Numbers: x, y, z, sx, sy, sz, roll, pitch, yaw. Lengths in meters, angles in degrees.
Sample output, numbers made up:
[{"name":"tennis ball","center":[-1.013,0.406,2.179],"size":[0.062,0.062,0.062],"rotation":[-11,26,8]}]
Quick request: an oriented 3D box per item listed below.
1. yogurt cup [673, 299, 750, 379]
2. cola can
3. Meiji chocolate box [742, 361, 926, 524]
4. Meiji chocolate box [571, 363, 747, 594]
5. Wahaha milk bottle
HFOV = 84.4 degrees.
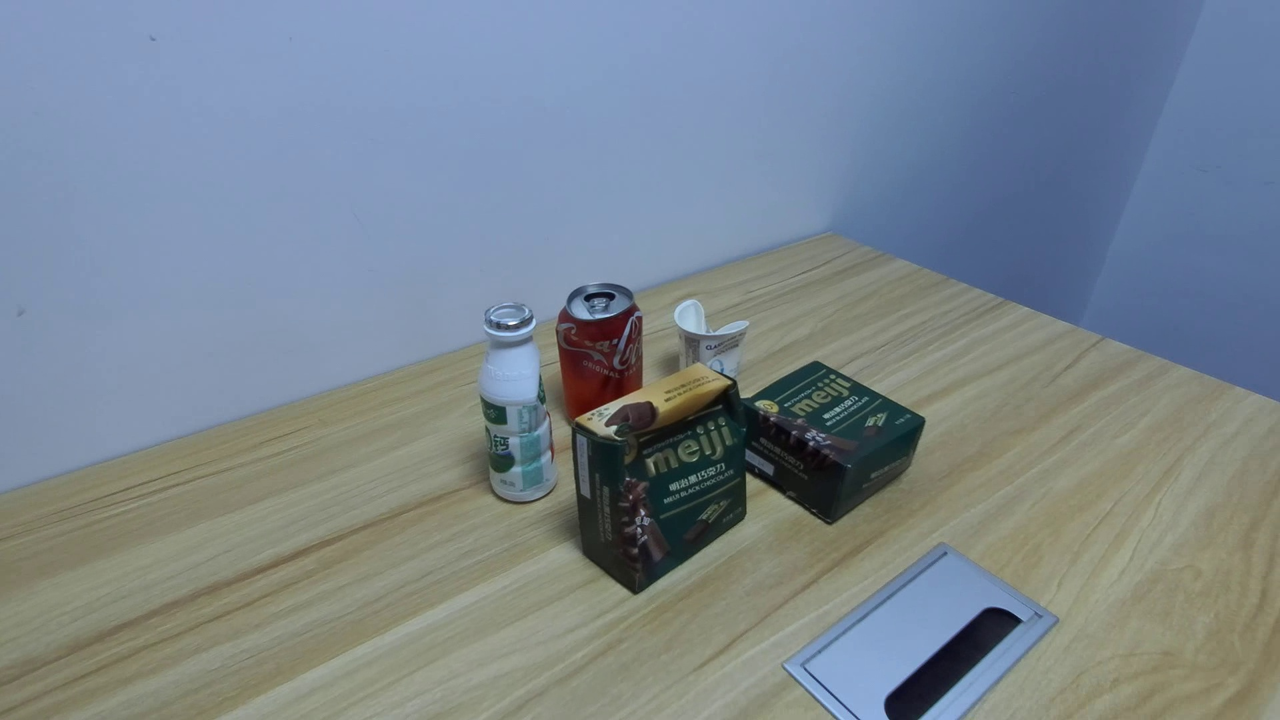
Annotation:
[{"name":"yogurt cup","center":[0.061,-0.010,0.643],"size":[0.067,0.070,0.067],"rotation":[2,34,-1]},{"name":"cola can","center":[-0.028,-0.001,0.582],"size":[0.072,0.117,0.066],"rotation":[26,37,36]},{"name":"Meiji chocolate box","center":[0.144,0.059,0.553],"size":[0.116,0.058,0.122],"rotation":[-21,38,-36]},{"name":"Meiji chocolate box","center":[0.018,0.073,0.470],"size":[0.118,0.117,0.051],"rotation":[-24,31,-35]},{"name":"Wahaha milk bottle","center":[-0.086,0.032,0.503],"size":[0.056,0.148,0.056],"rotation":[1,29,0]}]
